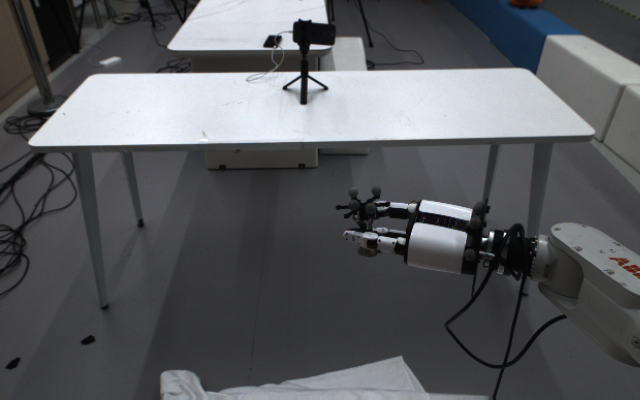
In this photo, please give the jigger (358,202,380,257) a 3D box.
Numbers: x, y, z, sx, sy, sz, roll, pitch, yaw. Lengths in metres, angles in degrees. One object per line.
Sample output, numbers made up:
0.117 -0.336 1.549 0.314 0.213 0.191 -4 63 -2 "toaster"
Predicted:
0.080 0.053 0.810 0.043 0.071 0.043 -11 23 5 "jigger"
